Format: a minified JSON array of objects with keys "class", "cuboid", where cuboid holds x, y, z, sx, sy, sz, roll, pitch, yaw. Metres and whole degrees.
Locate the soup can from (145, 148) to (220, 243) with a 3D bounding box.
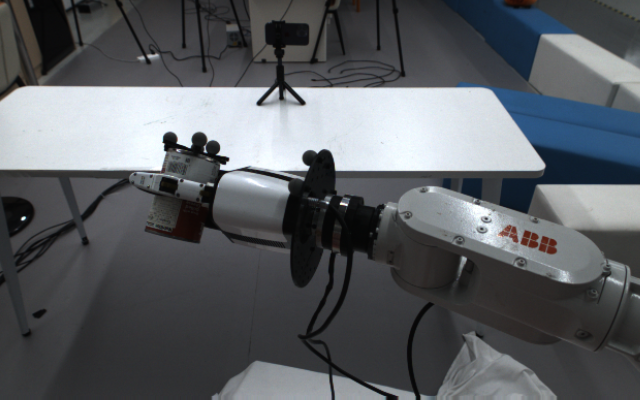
[{"class":"soup can","cuboid":[-0.164,-0.003,0.584,0.067,0.101,0.067,13,-6,1]}]
